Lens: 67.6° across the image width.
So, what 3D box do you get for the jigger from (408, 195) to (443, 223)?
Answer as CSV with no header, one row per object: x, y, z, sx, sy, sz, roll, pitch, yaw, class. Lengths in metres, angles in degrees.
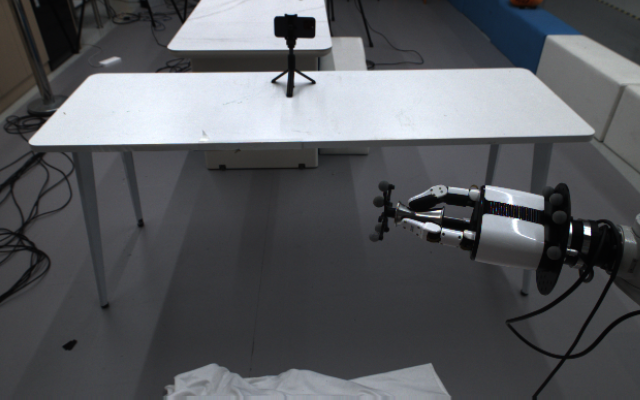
0.155,0.022,0.723,0.071,0.043,0.043,9,35,17,jigger
